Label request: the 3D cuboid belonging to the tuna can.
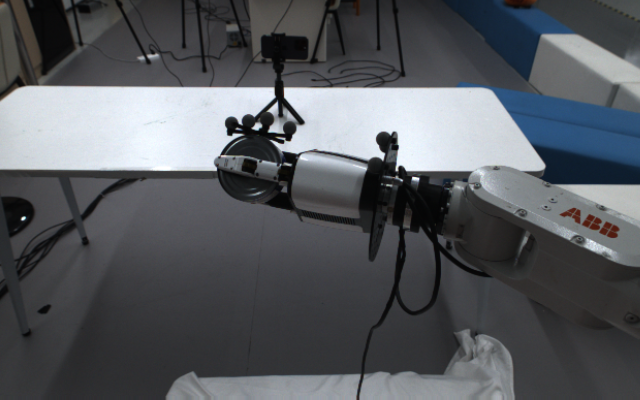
[{"bbox_3d":[-0.085,-0.040,0.620,0.085,0.085,0.034,11,-5,13],"label":"tuna can"}]
